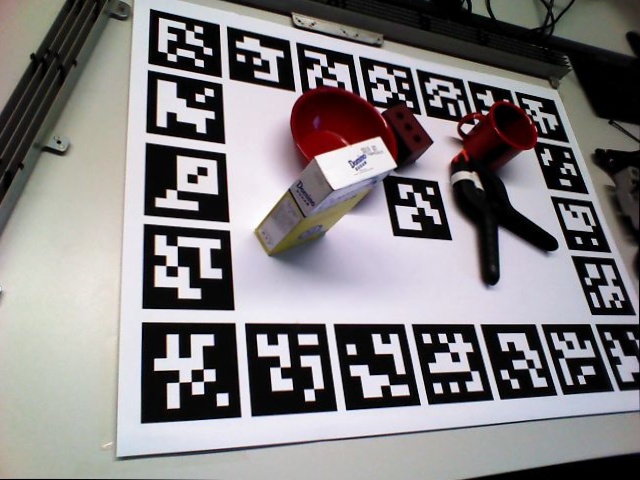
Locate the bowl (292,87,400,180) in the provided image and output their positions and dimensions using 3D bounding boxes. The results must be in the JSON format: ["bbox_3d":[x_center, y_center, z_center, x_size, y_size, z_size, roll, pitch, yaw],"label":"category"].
[{"bbox_3d":[0.028,-0.130,0.713,0.161,0.055,0.161,10,63,-21],"label":"bowl"}]

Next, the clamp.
[{"bbox_3d":[0.268,-0.047,0.786,0.164,0.037,0.202,-22,78,-29],"label":"clamp"}]

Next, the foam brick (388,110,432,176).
[{"bbox_3d":[0.129,-0.146,0.775,0.052,0.052,0.078,-26,80,-31],"label":"foam brick"}]

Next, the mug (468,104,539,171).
[{"bbox_3d":[0.290,-0.170,0.831,0.117,0.082,0.092,29,58,-14],"label":"mug"}]

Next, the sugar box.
[{"bbox_3d":[-0.002,-0.037,0.583,0.092,0.178,0.045,-24,80,-32],"label":"sugar box"}]
